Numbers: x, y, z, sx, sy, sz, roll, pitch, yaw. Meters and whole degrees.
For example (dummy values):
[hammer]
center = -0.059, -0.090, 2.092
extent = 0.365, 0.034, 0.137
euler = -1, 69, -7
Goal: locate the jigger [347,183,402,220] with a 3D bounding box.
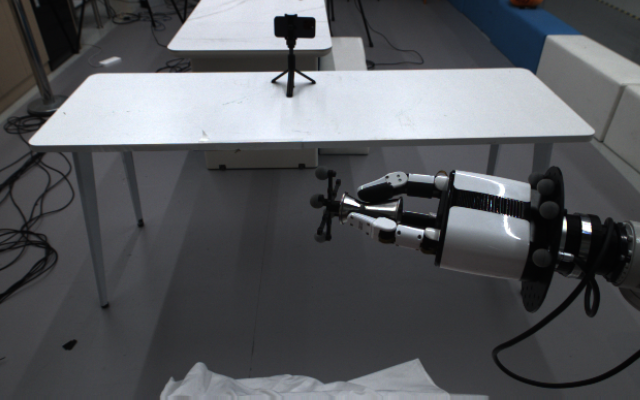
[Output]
[jigger]
center = 0.067, 0.011, 0.571
extent = 0.071, 0.043, 0.043
euler = 7, 35, 16
